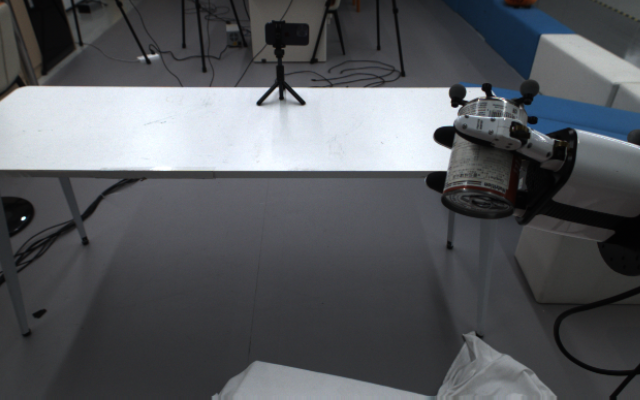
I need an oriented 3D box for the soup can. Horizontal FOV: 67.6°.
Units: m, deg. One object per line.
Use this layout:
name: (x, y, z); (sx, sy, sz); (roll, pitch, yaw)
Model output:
soup can: (0.165, -0.042, 0.477); (0.067, 0.067, 0.101); (11, 72, 13)
